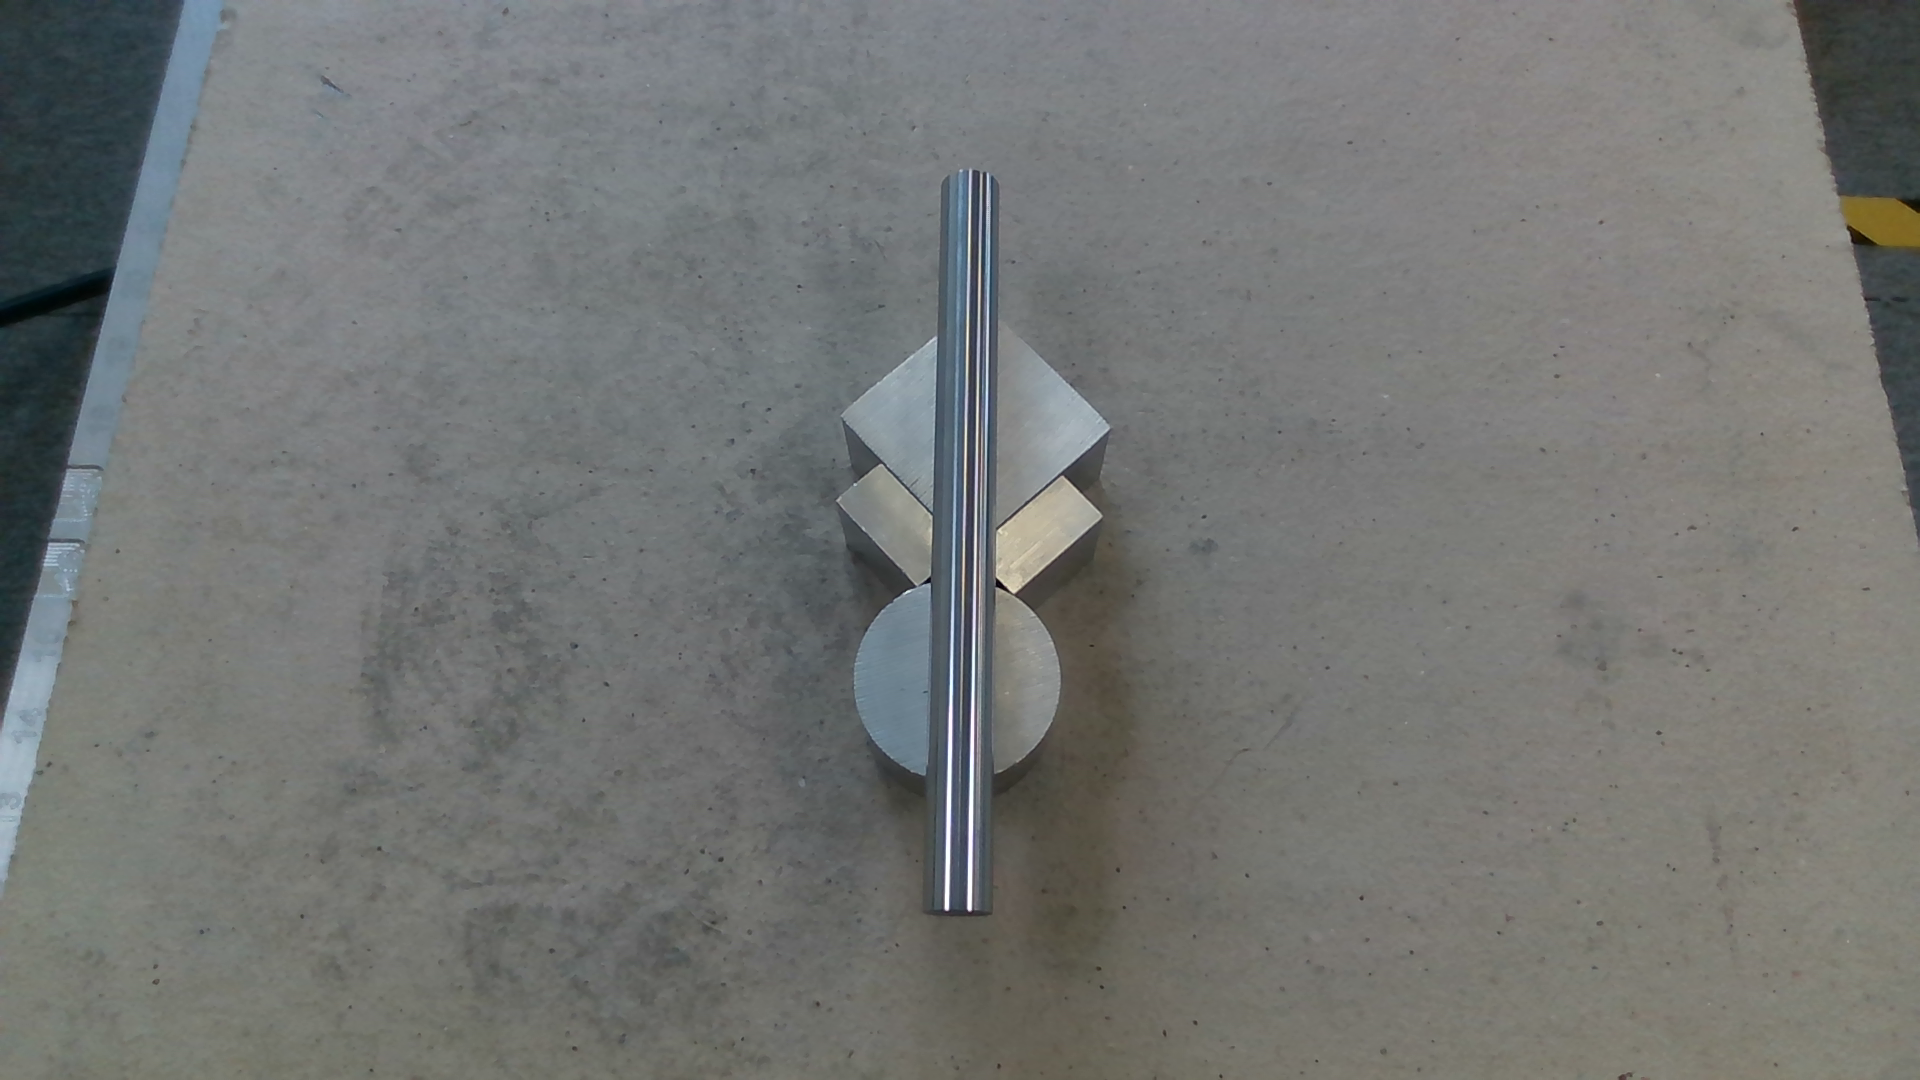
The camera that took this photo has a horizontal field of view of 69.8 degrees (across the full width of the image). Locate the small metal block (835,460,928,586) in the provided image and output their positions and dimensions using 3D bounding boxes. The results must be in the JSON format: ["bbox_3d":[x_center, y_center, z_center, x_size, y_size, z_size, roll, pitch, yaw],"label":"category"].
[{"bbox_3d":[-0.024,0.001,0.576,0.025,0.050,0.050,-41,75,-13],"label":"small metal block"}]

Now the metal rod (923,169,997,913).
[{"bbox_3d":[0.001,-0.010,0.537,0.025,0.025,0.299,1,70,0],"label":"metal rod"}]

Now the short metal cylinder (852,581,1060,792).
[{"bbox_3d":[-0.001,0.060,0.553,0.080,0.050,0.080,0,70,0],"label":"short metal cylinder"}]

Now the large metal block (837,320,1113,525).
[{"bbox_3d":[0.006,-0.041,0.588,0.080,0.050,0.080,-40,75,-13],"label":"large metal block"}]

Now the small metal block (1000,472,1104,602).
[{"bbox_3d":[0.031,0.006,0.574,0.050,0.050,0.025,-41,75,-13],"label":"small metal block"}]
